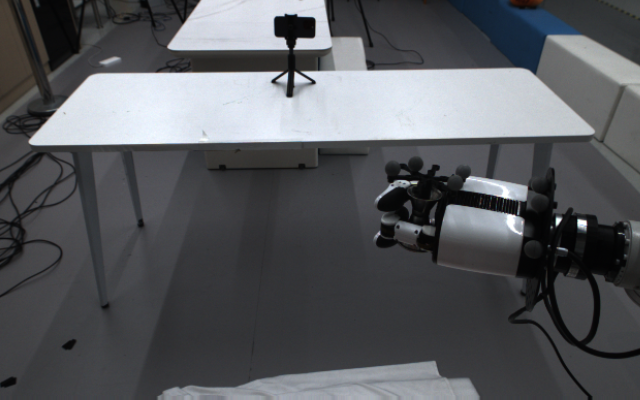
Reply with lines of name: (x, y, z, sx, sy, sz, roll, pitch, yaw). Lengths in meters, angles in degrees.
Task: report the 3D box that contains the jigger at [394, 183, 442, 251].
jigger: (0.121, 0.021, 0.573, 0.043, 0.071, 0.043, 3, 24, -1)
